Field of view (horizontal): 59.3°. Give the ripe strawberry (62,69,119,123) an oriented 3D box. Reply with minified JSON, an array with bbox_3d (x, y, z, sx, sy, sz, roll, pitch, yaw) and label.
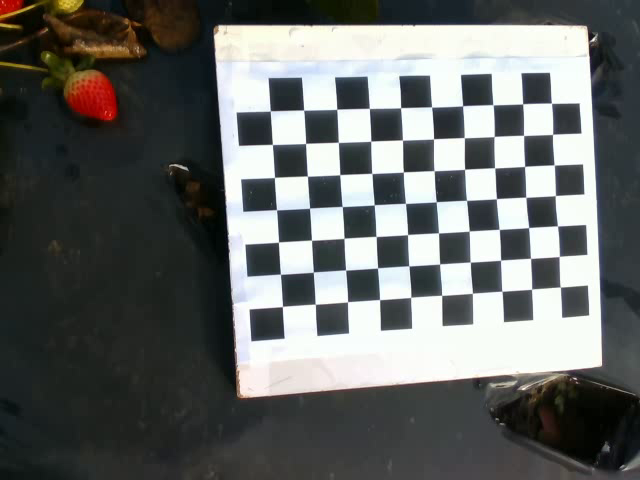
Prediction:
[{"bbox_3d":[-0.152,-0.095,0.374,0.035,0.043,0.029,-41,3,-6],"label":"ripe strawberry"}]
